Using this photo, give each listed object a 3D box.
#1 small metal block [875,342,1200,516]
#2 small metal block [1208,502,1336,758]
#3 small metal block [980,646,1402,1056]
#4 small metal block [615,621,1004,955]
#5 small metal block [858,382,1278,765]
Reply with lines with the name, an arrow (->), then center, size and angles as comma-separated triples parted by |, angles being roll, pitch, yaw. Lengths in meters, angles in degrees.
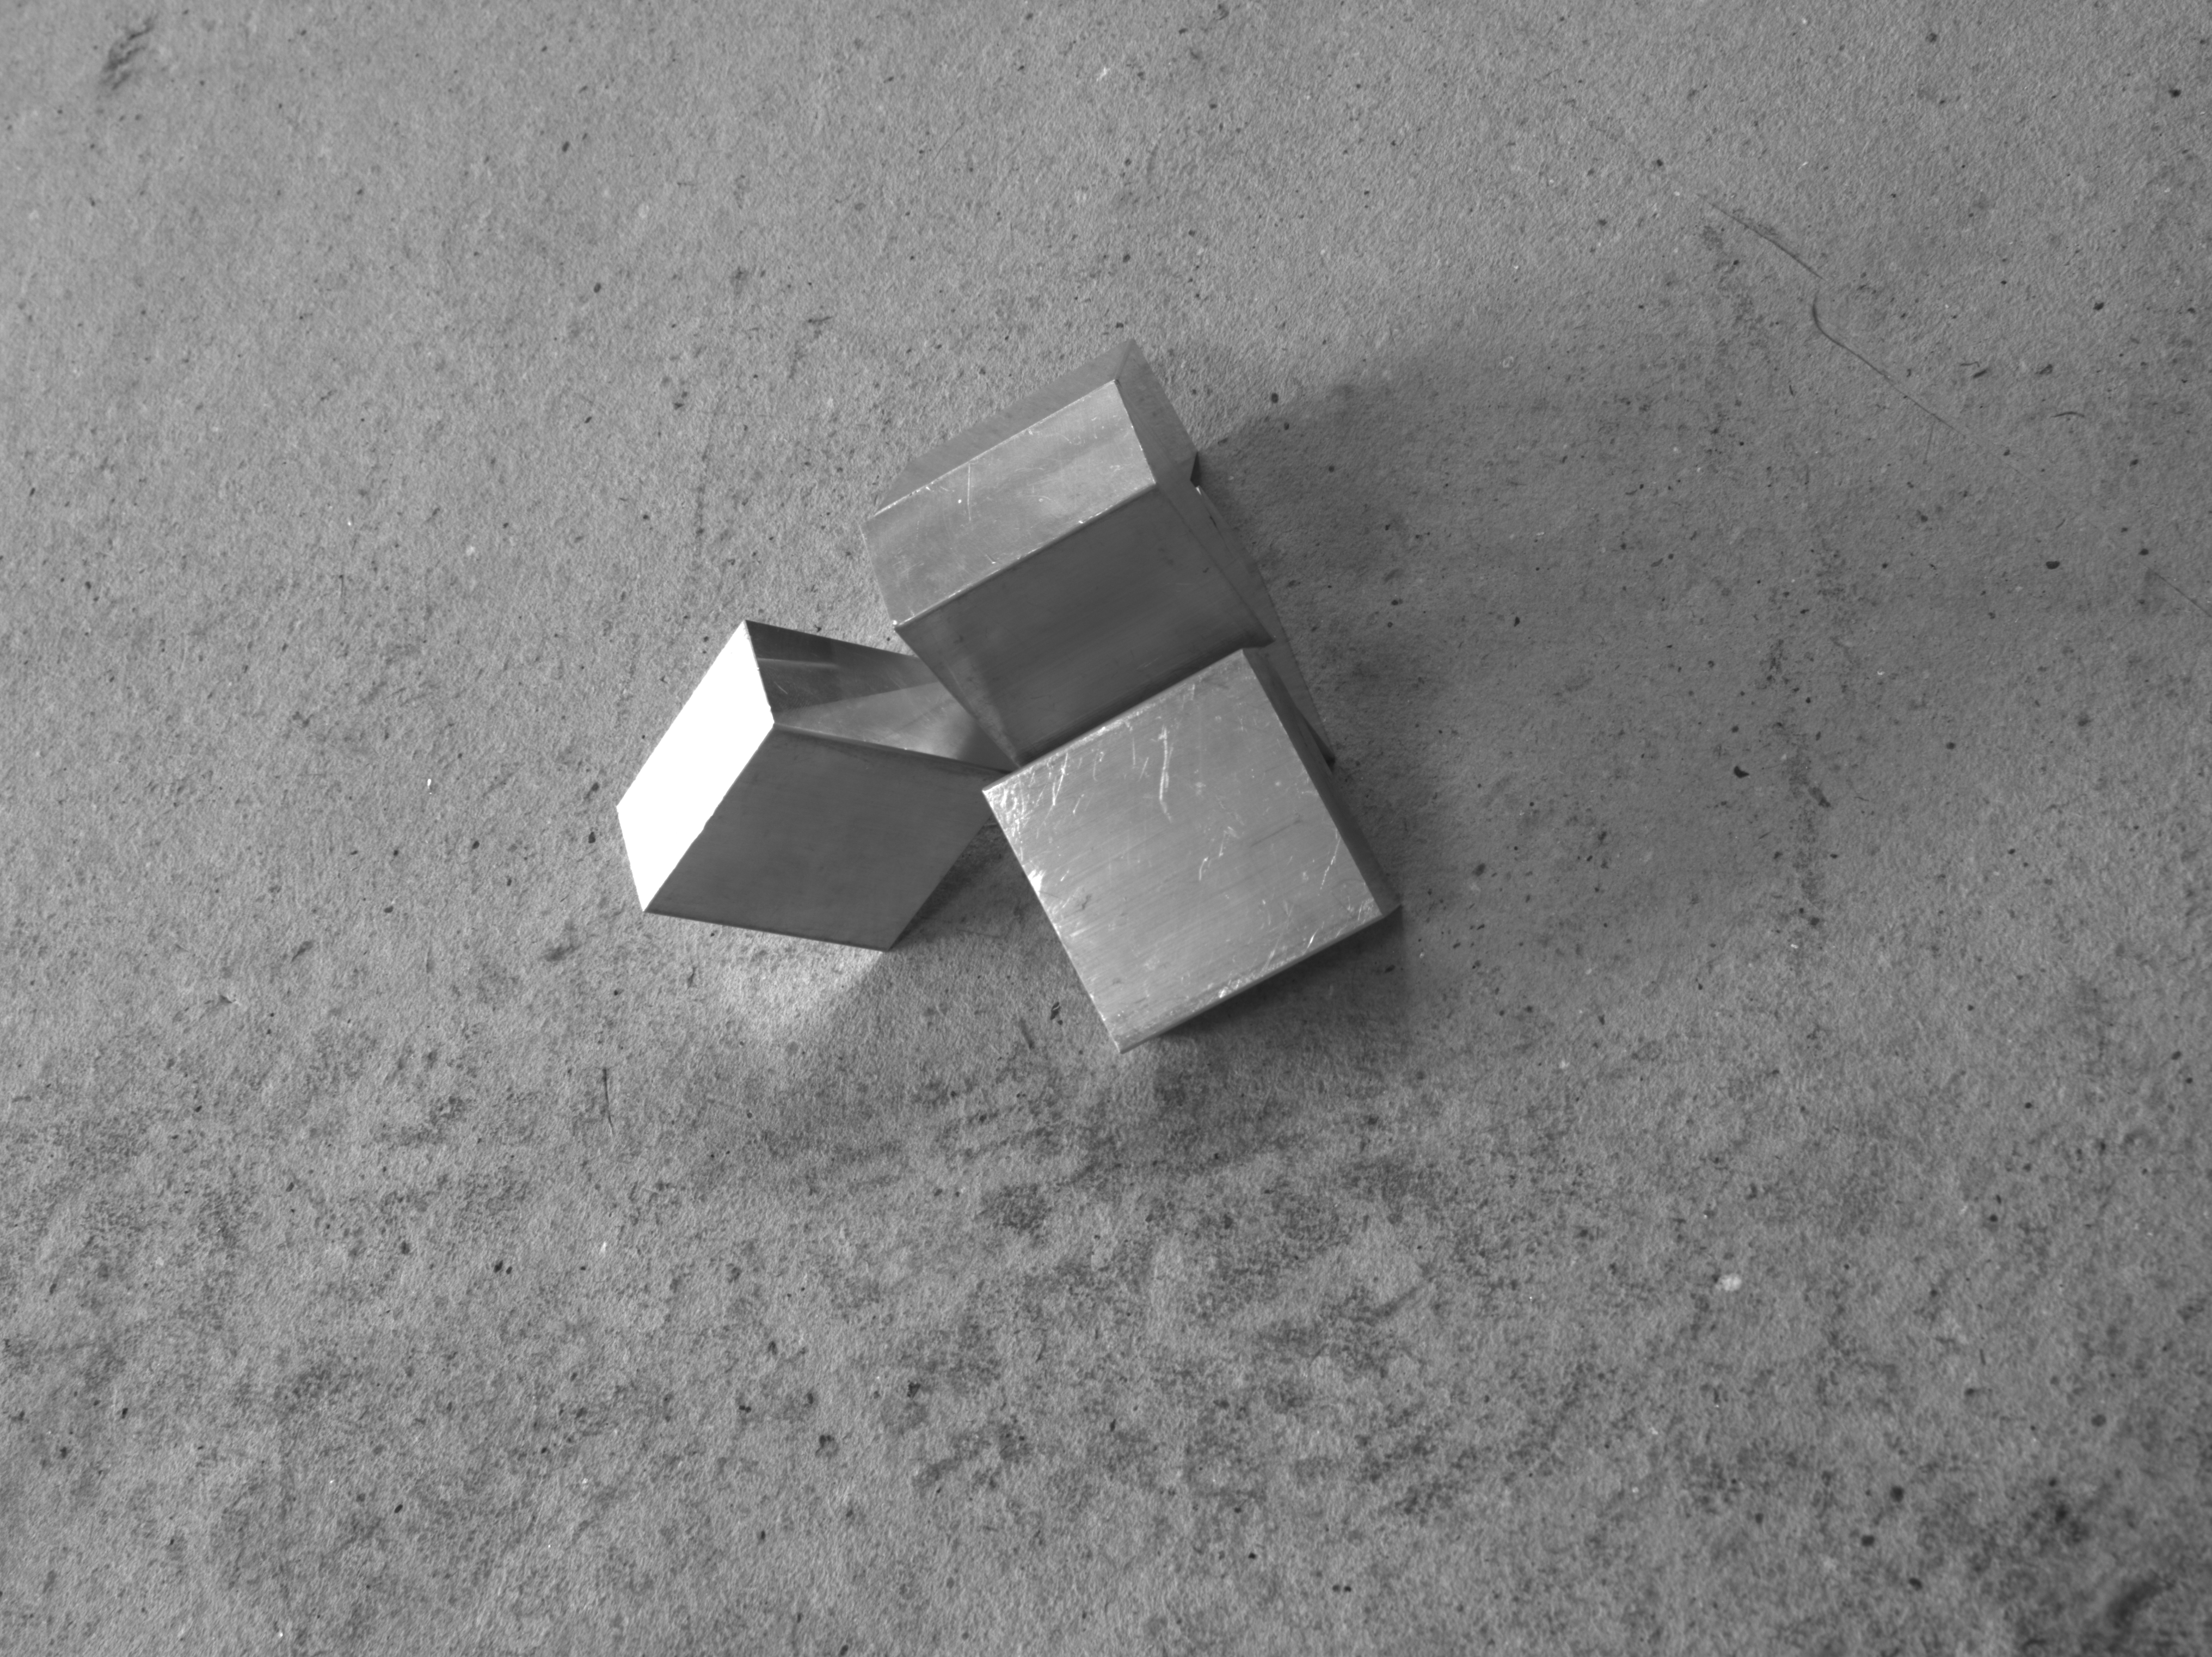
small metal block -> -0.012, -0.062, 0.675 | 0.050, 0.025, 0.050 | -28, 12, 11
small metal block -> 0.007, -0.025, 0.659 | 0.050, 0.025, 0.050 | -30, 51, 13
small metal block -> 0.015, 0.003, 0.620 | 0.050, 0.025, 0.050 | -29, 88, 11
small metal block -> -0.051, -0.006, 0.649 | 0.050, 0.050, 0.025 | -51, 43, 35
small metal block -> -0.006, -0.041, 0.626 | 0.050, 0.050, 0.025 | -28, 52, 11
